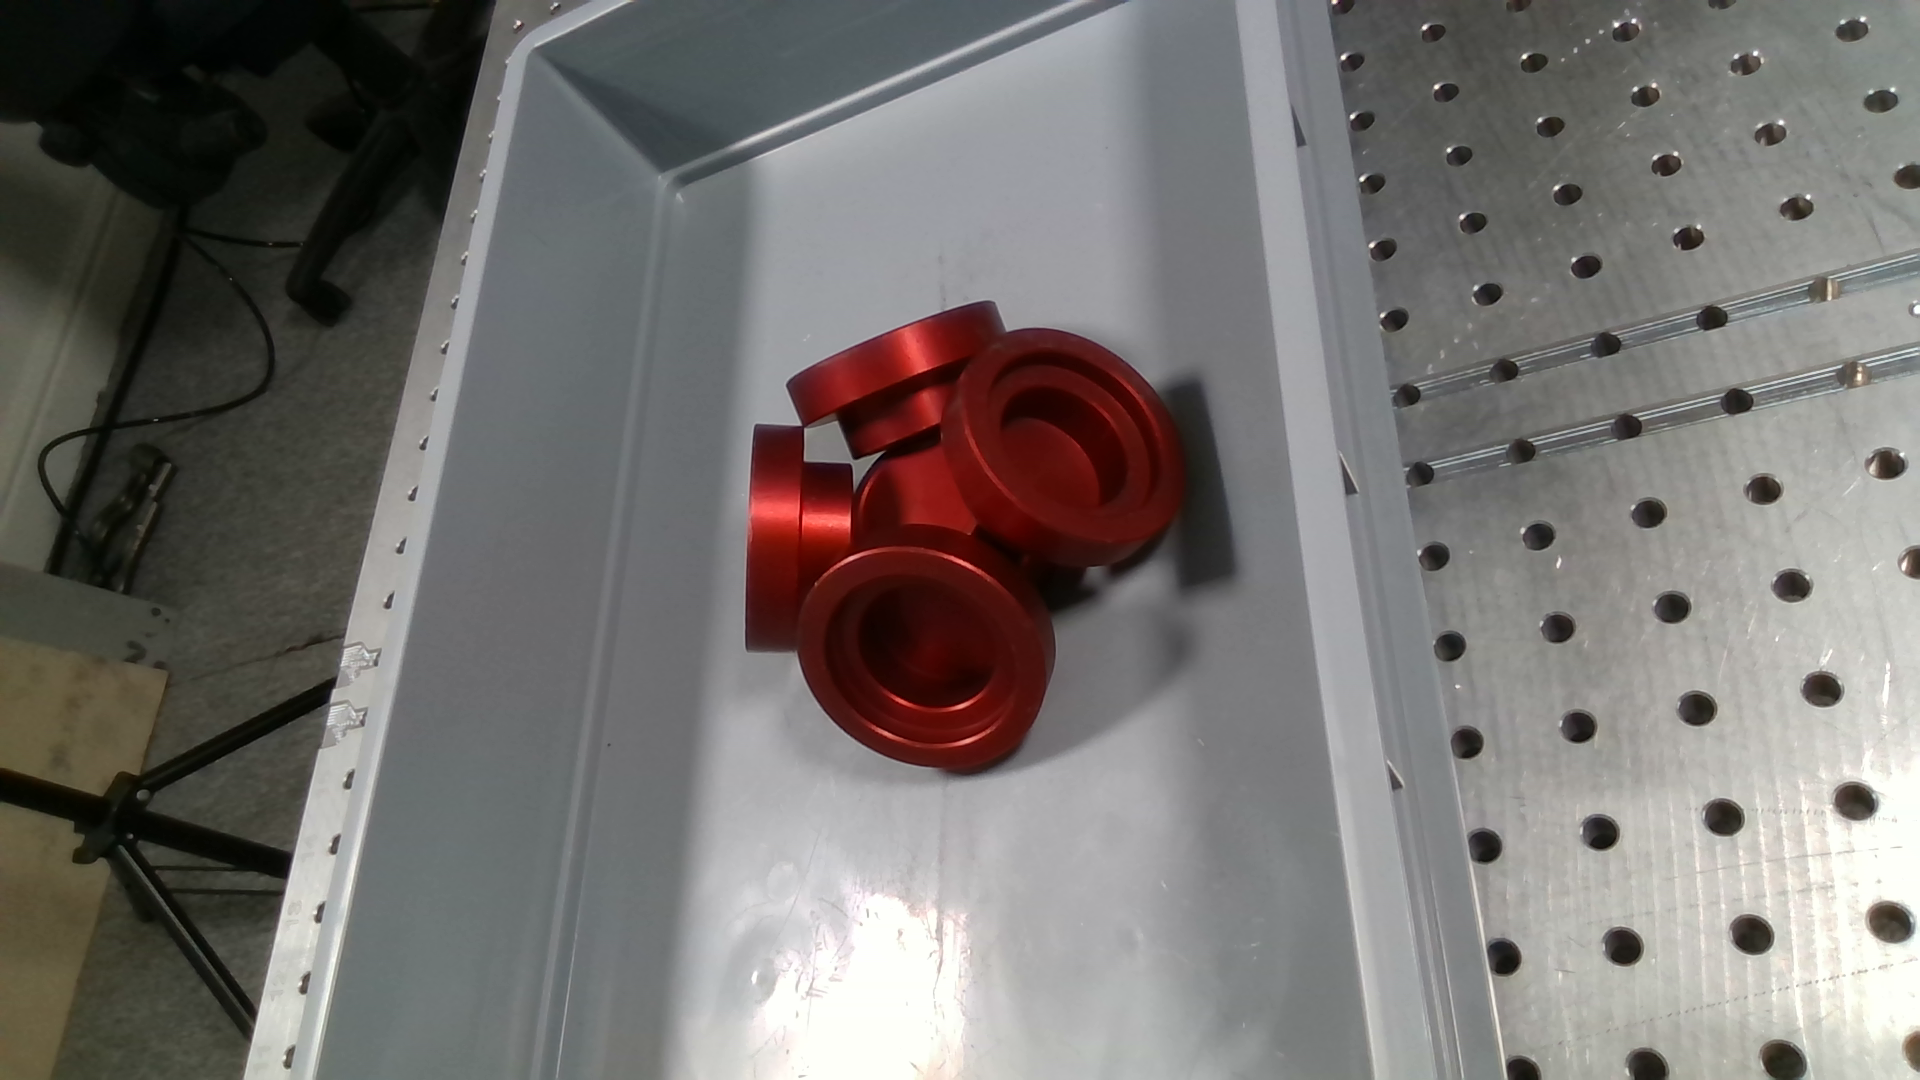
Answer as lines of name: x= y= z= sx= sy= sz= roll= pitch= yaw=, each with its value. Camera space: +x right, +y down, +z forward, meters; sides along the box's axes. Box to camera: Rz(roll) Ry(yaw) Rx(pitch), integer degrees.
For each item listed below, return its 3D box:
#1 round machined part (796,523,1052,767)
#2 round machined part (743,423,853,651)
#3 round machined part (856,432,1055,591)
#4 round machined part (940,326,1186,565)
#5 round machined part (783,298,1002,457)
round machined part: x=-0.011 y=0.037 z=0.537 sx=0.098 sy=0.098 sz=0.042 roll=-17 pitch=22 yaw=23
round machined part: x=-0.069 y=-0.001 z=0.592 sx=0.042 sy=0.098 sz=0.098 roll=3 pitch=61 yaw=-7
round machined part: x=-0.008 y=-0.008 z=0.581 sx=0.098 sy=0.042 sz=0.098 roll=-14 pitch=59 yaw=25
round machined part: x=0.036 y=-0.033 z=0.544 sx=0.042 sy=0.098 sz=0.098 roll=130 pitch=143 yaw=-51
round machined part: x=-0.024 y=-0.067 z=0.599 sx=0.098 sy=0.098 sz=0.042 roll=-20 pitch=94 yaw=21
